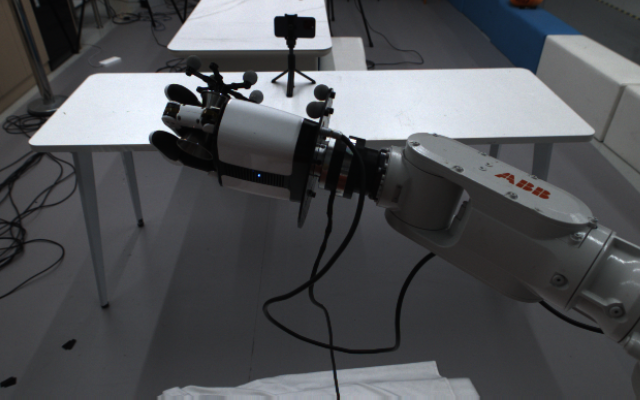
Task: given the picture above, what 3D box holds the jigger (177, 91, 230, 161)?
[{"bbox_3d":[-0.126,-0.085,0.551,0.043,0.043,0.071,12,71,14],"label":"jigger"}]
